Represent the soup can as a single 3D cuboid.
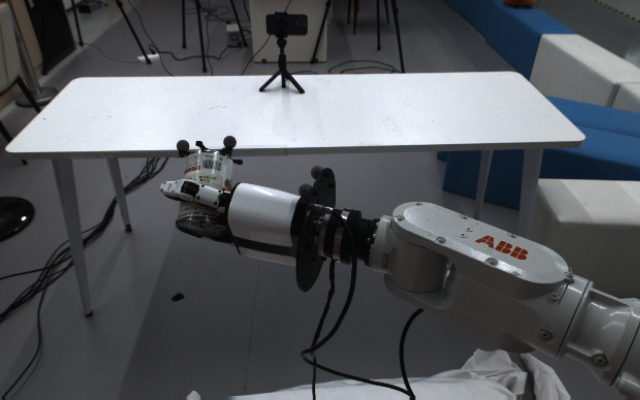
[{"bbox_3d":[-0.152,-0.007,0.652,0.067,0.067,0.101,1,68,-1],"label":"soup can"}]
